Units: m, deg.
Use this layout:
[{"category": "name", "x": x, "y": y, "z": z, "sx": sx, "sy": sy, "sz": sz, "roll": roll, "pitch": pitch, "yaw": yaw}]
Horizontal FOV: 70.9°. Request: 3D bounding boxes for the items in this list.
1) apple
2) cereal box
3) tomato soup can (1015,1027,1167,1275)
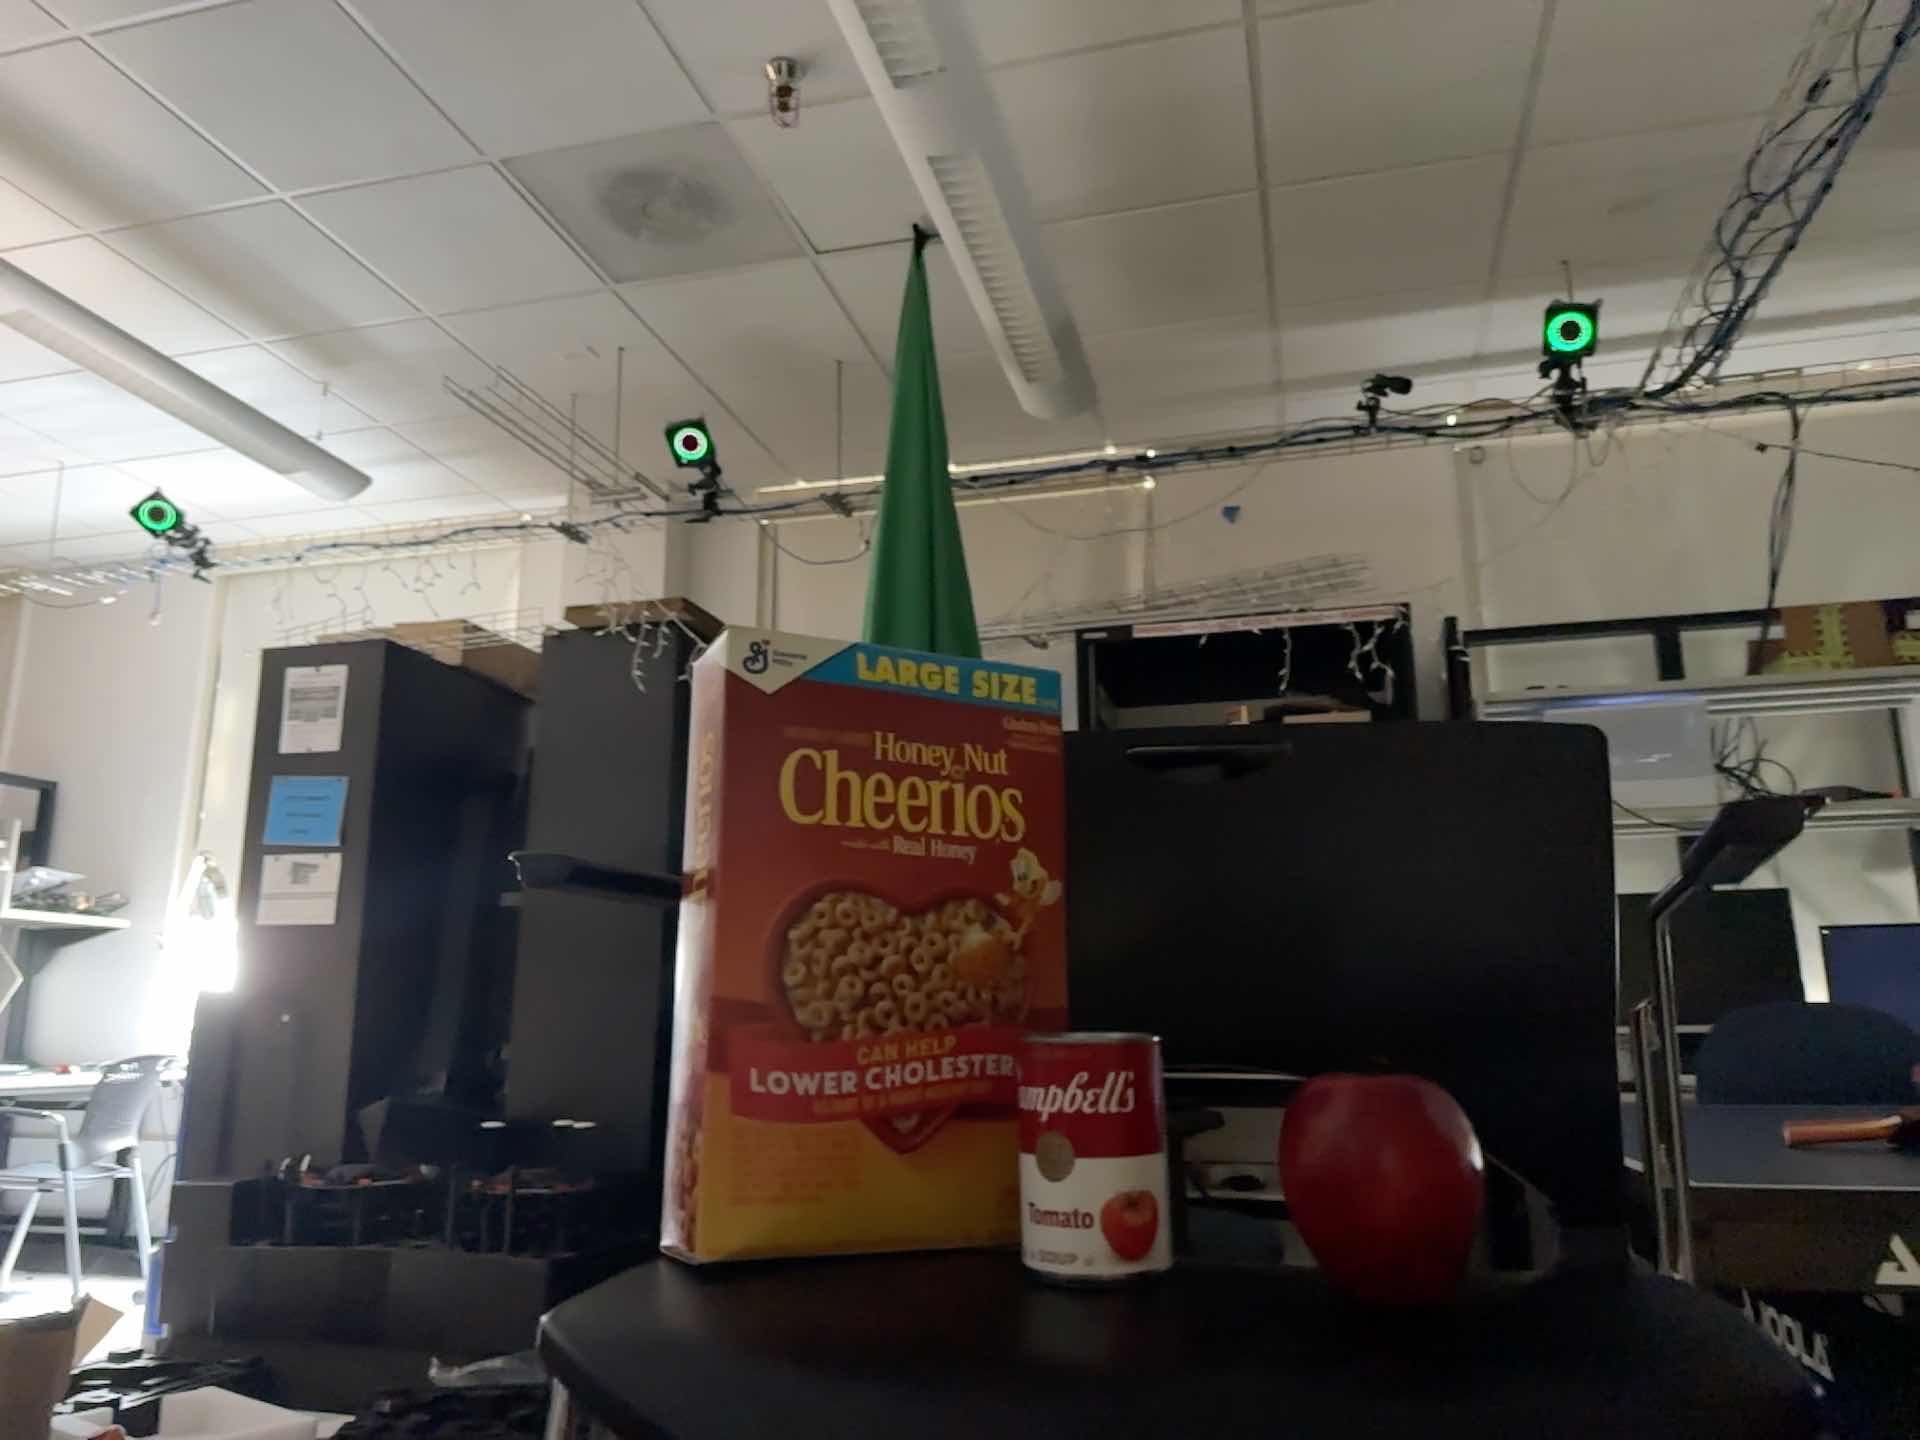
[{"category": "apple", "x": 0.172, "y": 0.182, "z": 0.548, "sx": 0.079, "sy": 0.093, "sz": 0.079, "roll": -2, "pitch": -7, "yaw": 0}, {"category": "cereal box", "x": -0.049, "y": 0.111, "z": 0.711, "sx": 0.195, "sy": 0.297, "sz": 0.065, "roll": 7, "pitch": -13, "yaw": -24}, {"category": "tomato soup can", "x": 0.059, "y": 0.192, "z": 0.612, "sx": 0.067, "sy": 0.102, "sz": 0.067, "roll": 0, "pitch": -10, "yaw": 0}]
